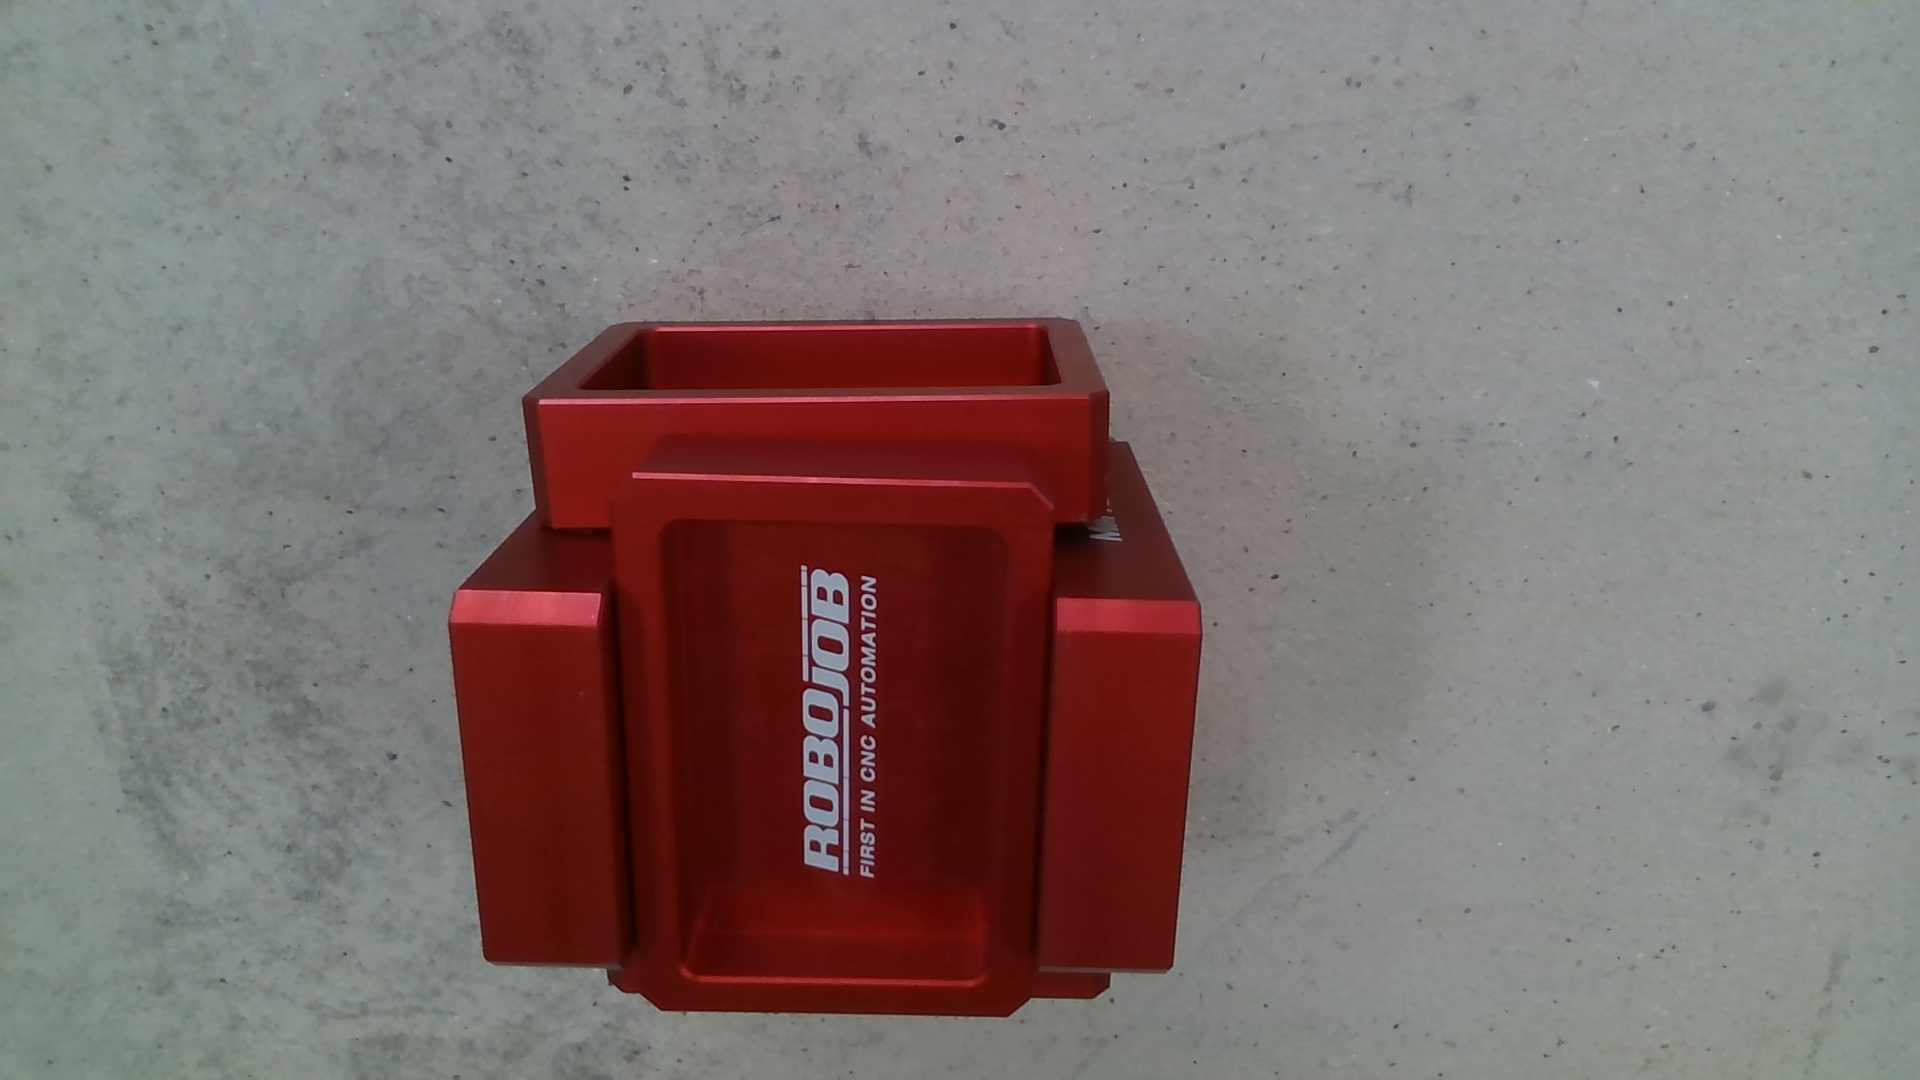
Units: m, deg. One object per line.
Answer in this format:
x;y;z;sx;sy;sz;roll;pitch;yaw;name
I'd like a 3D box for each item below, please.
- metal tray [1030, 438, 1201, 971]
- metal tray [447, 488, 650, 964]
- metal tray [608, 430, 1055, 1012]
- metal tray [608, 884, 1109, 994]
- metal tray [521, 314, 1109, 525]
0.032;0.034;0.349;0.030;0.130;0.090;1;110;-1;metal tray
-0.088;0.032;0.349;0.030;0.130;0.090;1;110;0;metal tray
-0.027;0.043;0.311;0.090;0.030;0.130;2;110;0;metal tray
-0.026;0.088;0.391;0.130;0.090;0.030;1;109;-2;metal tray
-0.032;-0.033;0.346;0.130;0.090;0.030;-1;110;0;metal tray
